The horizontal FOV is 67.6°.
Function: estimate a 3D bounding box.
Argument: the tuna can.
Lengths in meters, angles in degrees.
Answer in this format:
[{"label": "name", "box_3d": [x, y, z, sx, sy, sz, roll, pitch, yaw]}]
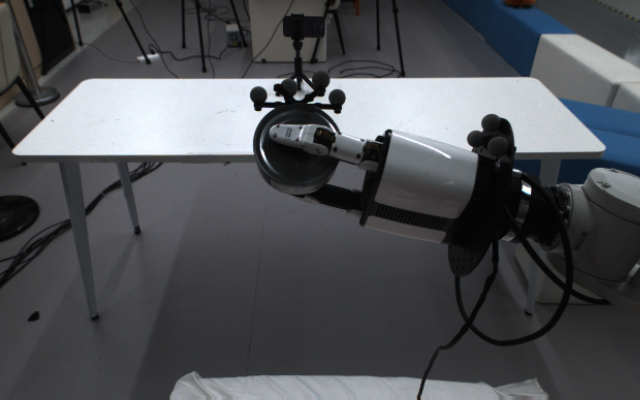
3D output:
[{"label": "tuna can", "box_3d": [-0.019, -0.045, 0.474, 0.085, 0.034, 0.085, 1, 73, -4]}]
